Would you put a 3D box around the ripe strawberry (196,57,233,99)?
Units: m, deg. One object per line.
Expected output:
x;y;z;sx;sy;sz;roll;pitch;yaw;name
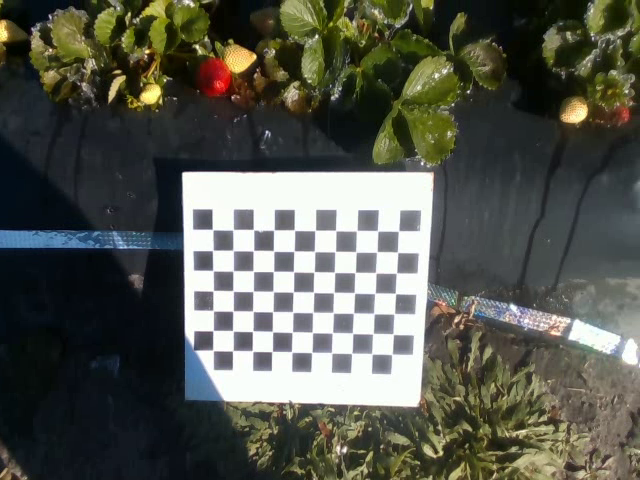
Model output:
-0.106;-0.159;0.522;0.040;0.042;0.053;-35;34;5;ripe strawberry
